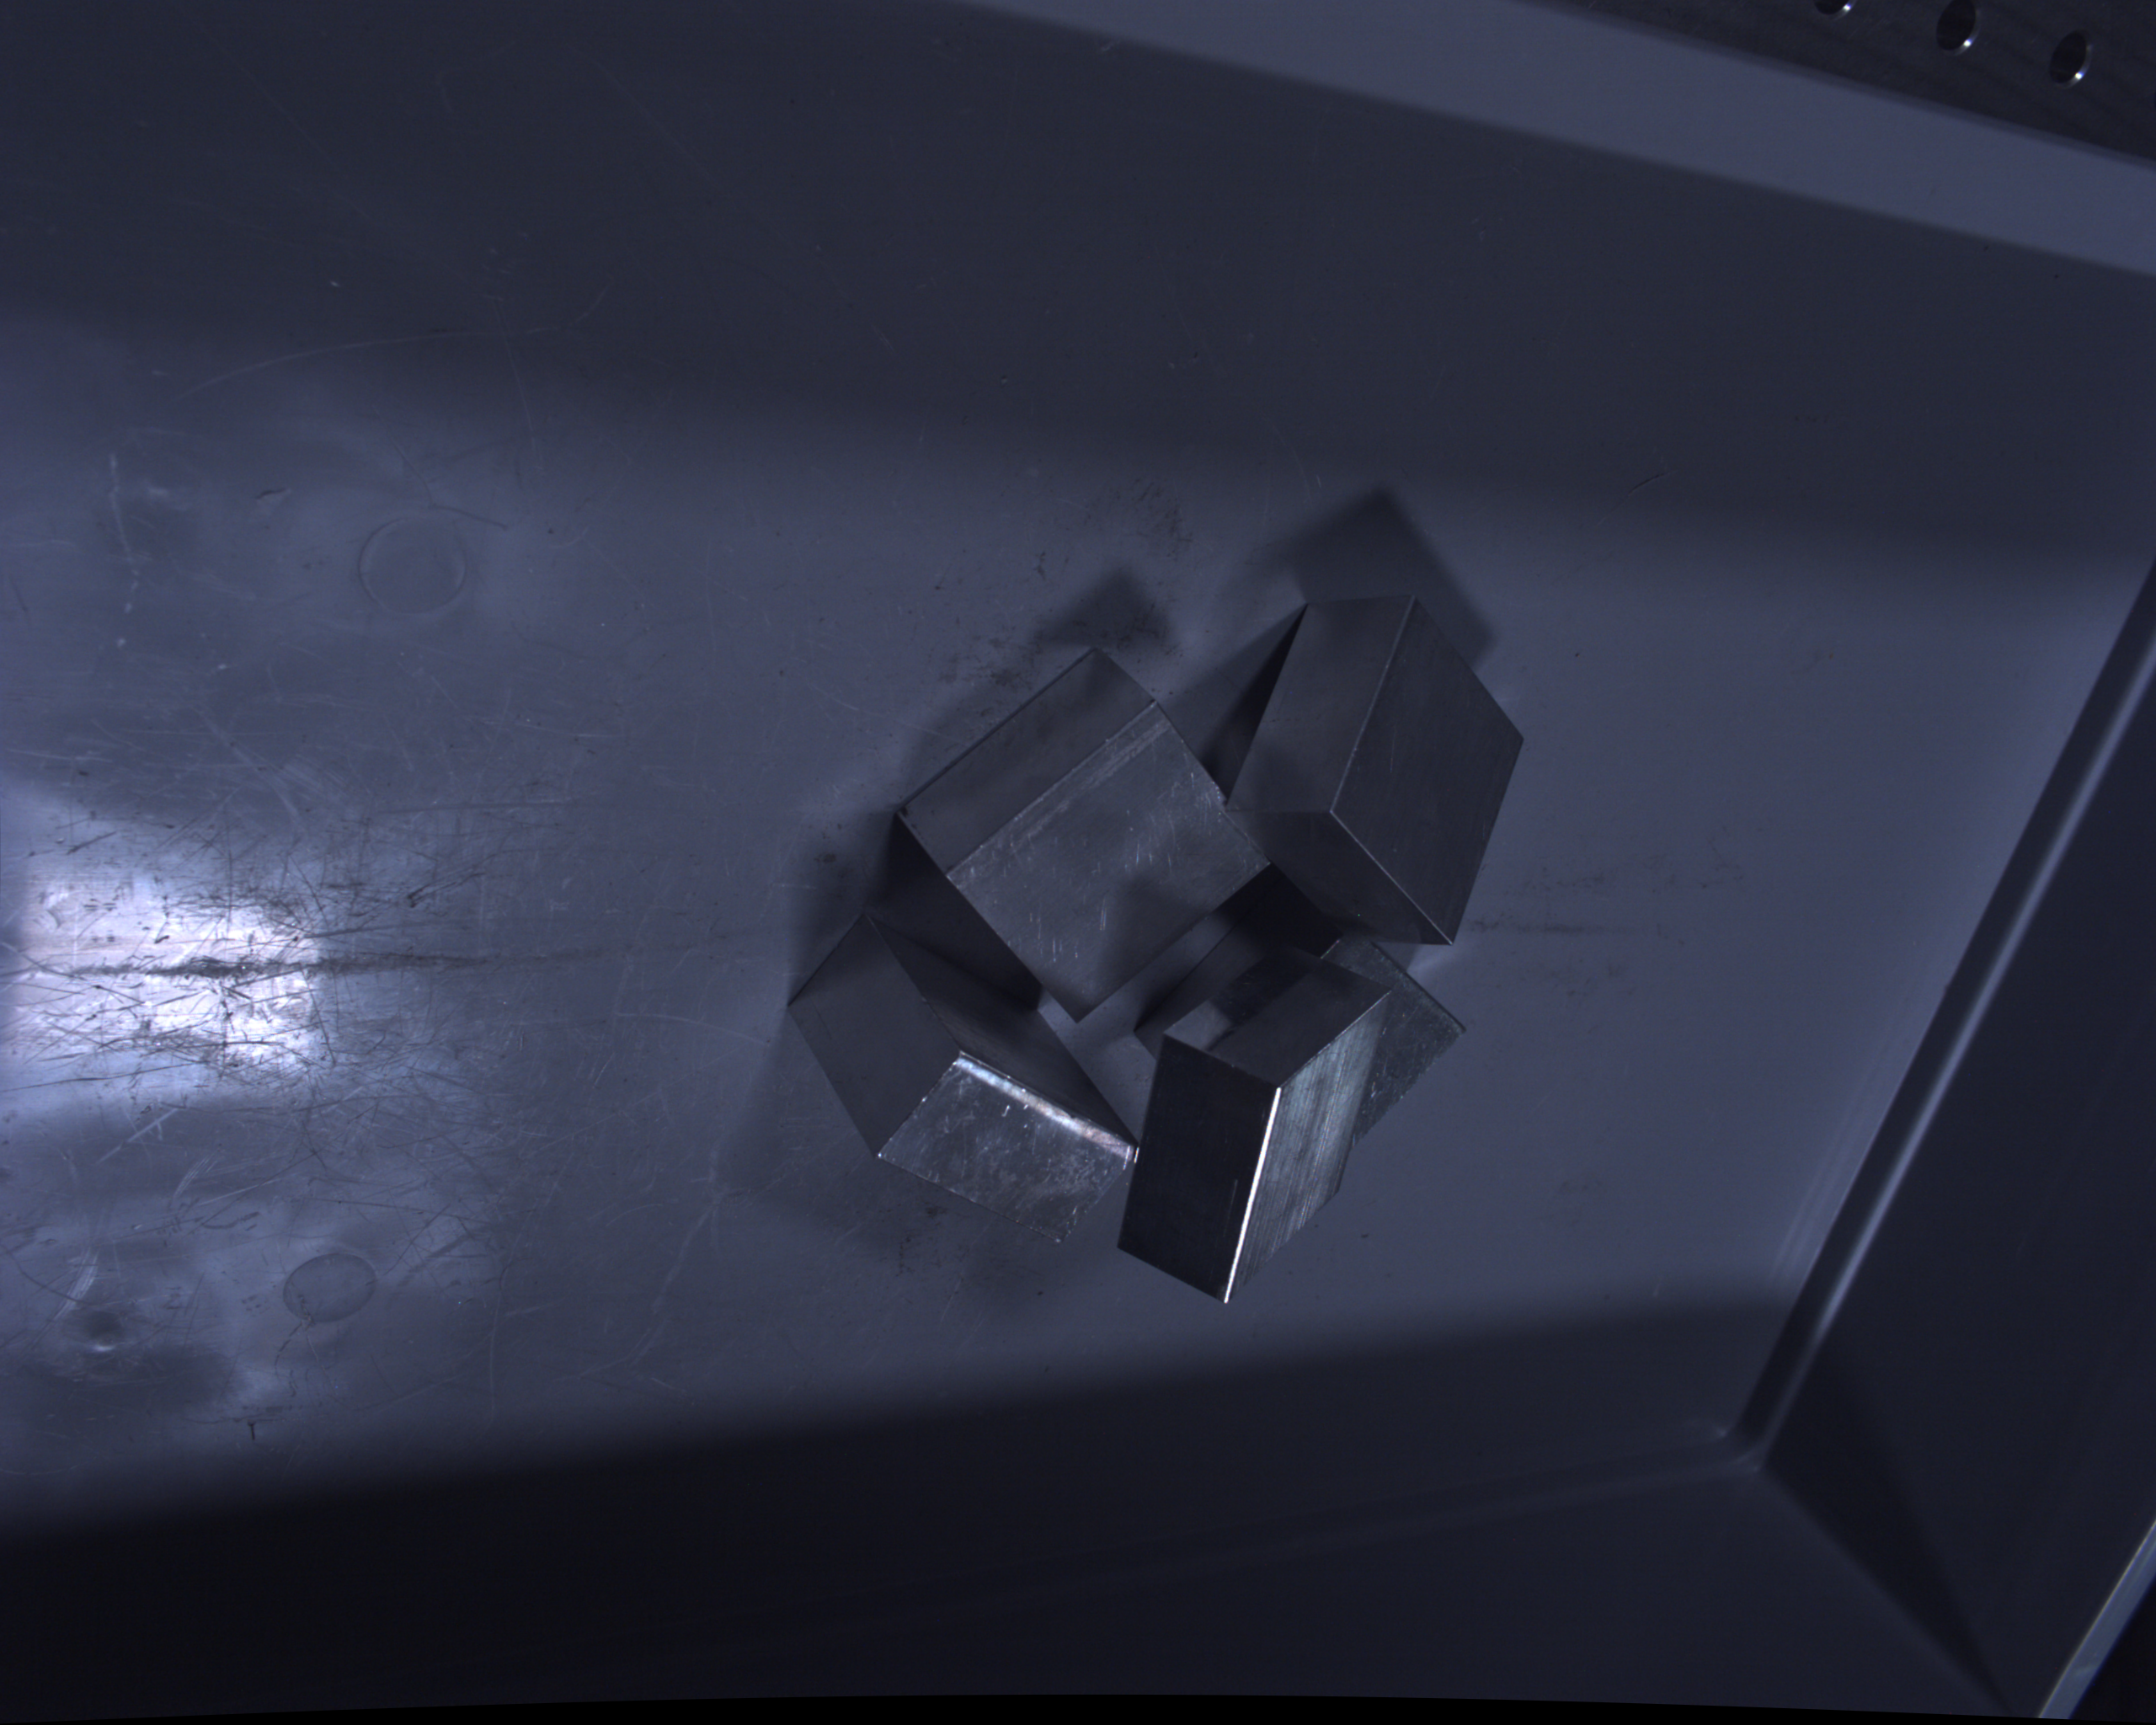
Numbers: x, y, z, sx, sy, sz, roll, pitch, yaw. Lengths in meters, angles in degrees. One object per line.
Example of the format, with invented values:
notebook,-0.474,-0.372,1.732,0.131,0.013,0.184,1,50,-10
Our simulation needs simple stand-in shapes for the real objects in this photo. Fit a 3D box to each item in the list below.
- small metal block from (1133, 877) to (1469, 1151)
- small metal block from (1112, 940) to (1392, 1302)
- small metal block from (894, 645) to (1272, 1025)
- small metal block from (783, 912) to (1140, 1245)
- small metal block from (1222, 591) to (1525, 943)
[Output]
small metal block,0.049,0.037,0.458,0.050,0.025,0.050,-46,130,4
small metal block,0.035,0.050,0.411,0.050,0.025,0.050,-30,137,-52
small metal block,0.002,-0.005,0.405,0.050,0.025,0.050,-40,130,-2
small metal block,-0.023,0.042,0.404,0.050,0.050,0.025,33,100,-39
small metal block,0.060,-0.018,0.416,0.050,0.025,0.050,43,60,-40
